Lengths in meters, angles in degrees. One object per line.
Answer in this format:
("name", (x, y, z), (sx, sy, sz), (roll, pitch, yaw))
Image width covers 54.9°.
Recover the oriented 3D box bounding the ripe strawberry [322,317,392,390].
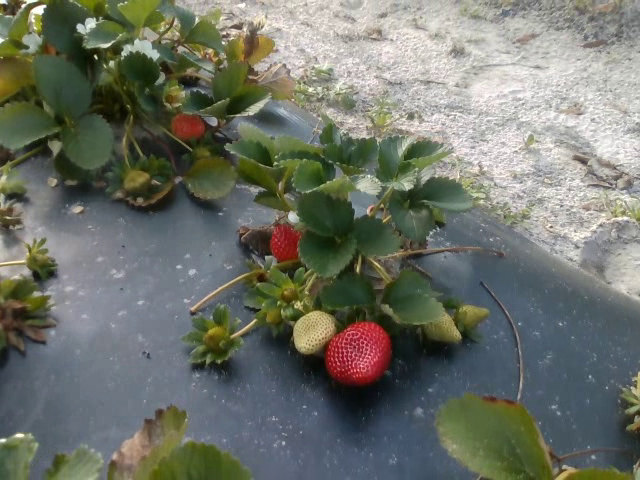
("ripe strawberry", (0.024, 0.080, 0.401), (0.051, 0.048, 0.055), (-35, 7, 9))
